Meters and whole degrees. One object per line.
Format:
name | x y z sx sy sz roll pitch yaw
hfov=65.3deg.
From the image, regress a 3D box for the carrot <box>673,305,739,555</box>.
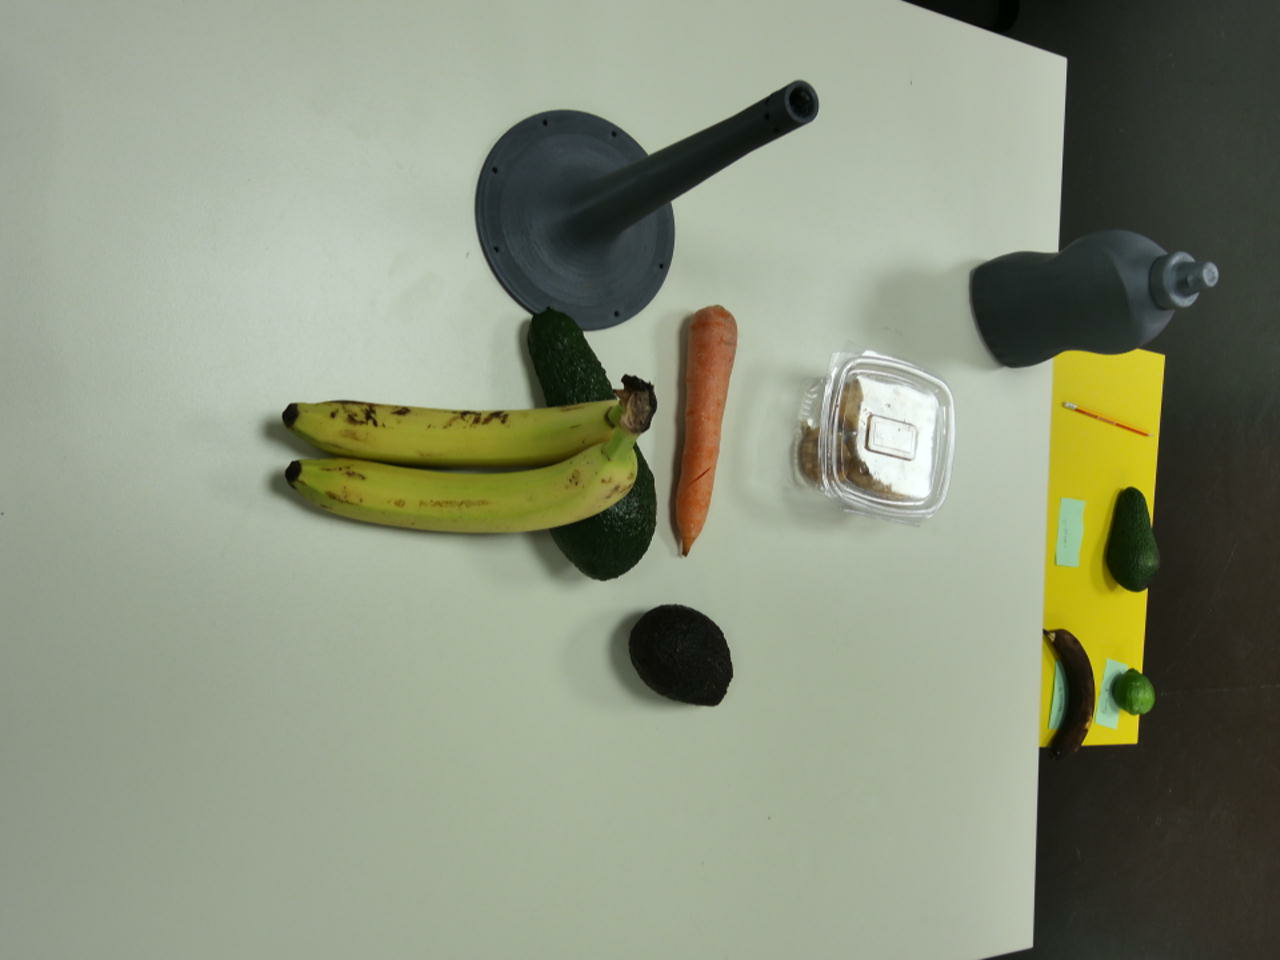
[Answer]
carrot | 0.050 -0.036 0.766 0.039 0.041 0.196 5 88 -29
